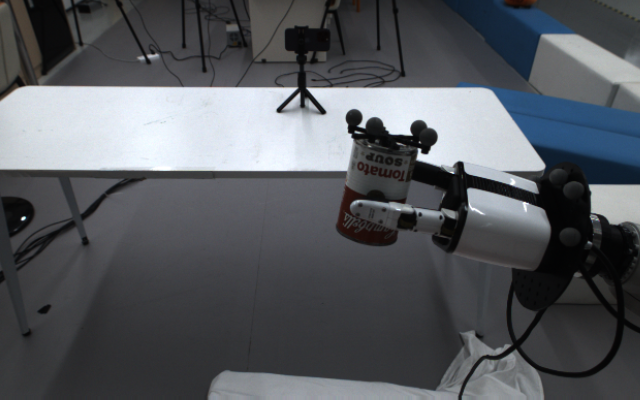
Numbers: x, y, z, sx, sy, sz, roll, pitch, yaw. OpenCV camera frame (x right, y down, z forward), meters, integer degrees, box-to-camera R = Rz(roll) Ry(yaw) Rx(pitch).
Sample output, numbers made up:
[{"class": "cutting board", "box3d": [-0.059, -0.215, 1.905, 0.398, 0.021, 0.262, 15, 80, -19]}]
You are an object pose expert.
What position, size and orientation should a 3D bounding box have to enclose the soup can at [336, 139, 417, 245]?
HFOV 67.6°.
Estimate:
[{"class": "soup can", "box3d": [0.061, -0.013, 0.508, 0.067, 0.101, 0.067, 9, 20, -3]}]
